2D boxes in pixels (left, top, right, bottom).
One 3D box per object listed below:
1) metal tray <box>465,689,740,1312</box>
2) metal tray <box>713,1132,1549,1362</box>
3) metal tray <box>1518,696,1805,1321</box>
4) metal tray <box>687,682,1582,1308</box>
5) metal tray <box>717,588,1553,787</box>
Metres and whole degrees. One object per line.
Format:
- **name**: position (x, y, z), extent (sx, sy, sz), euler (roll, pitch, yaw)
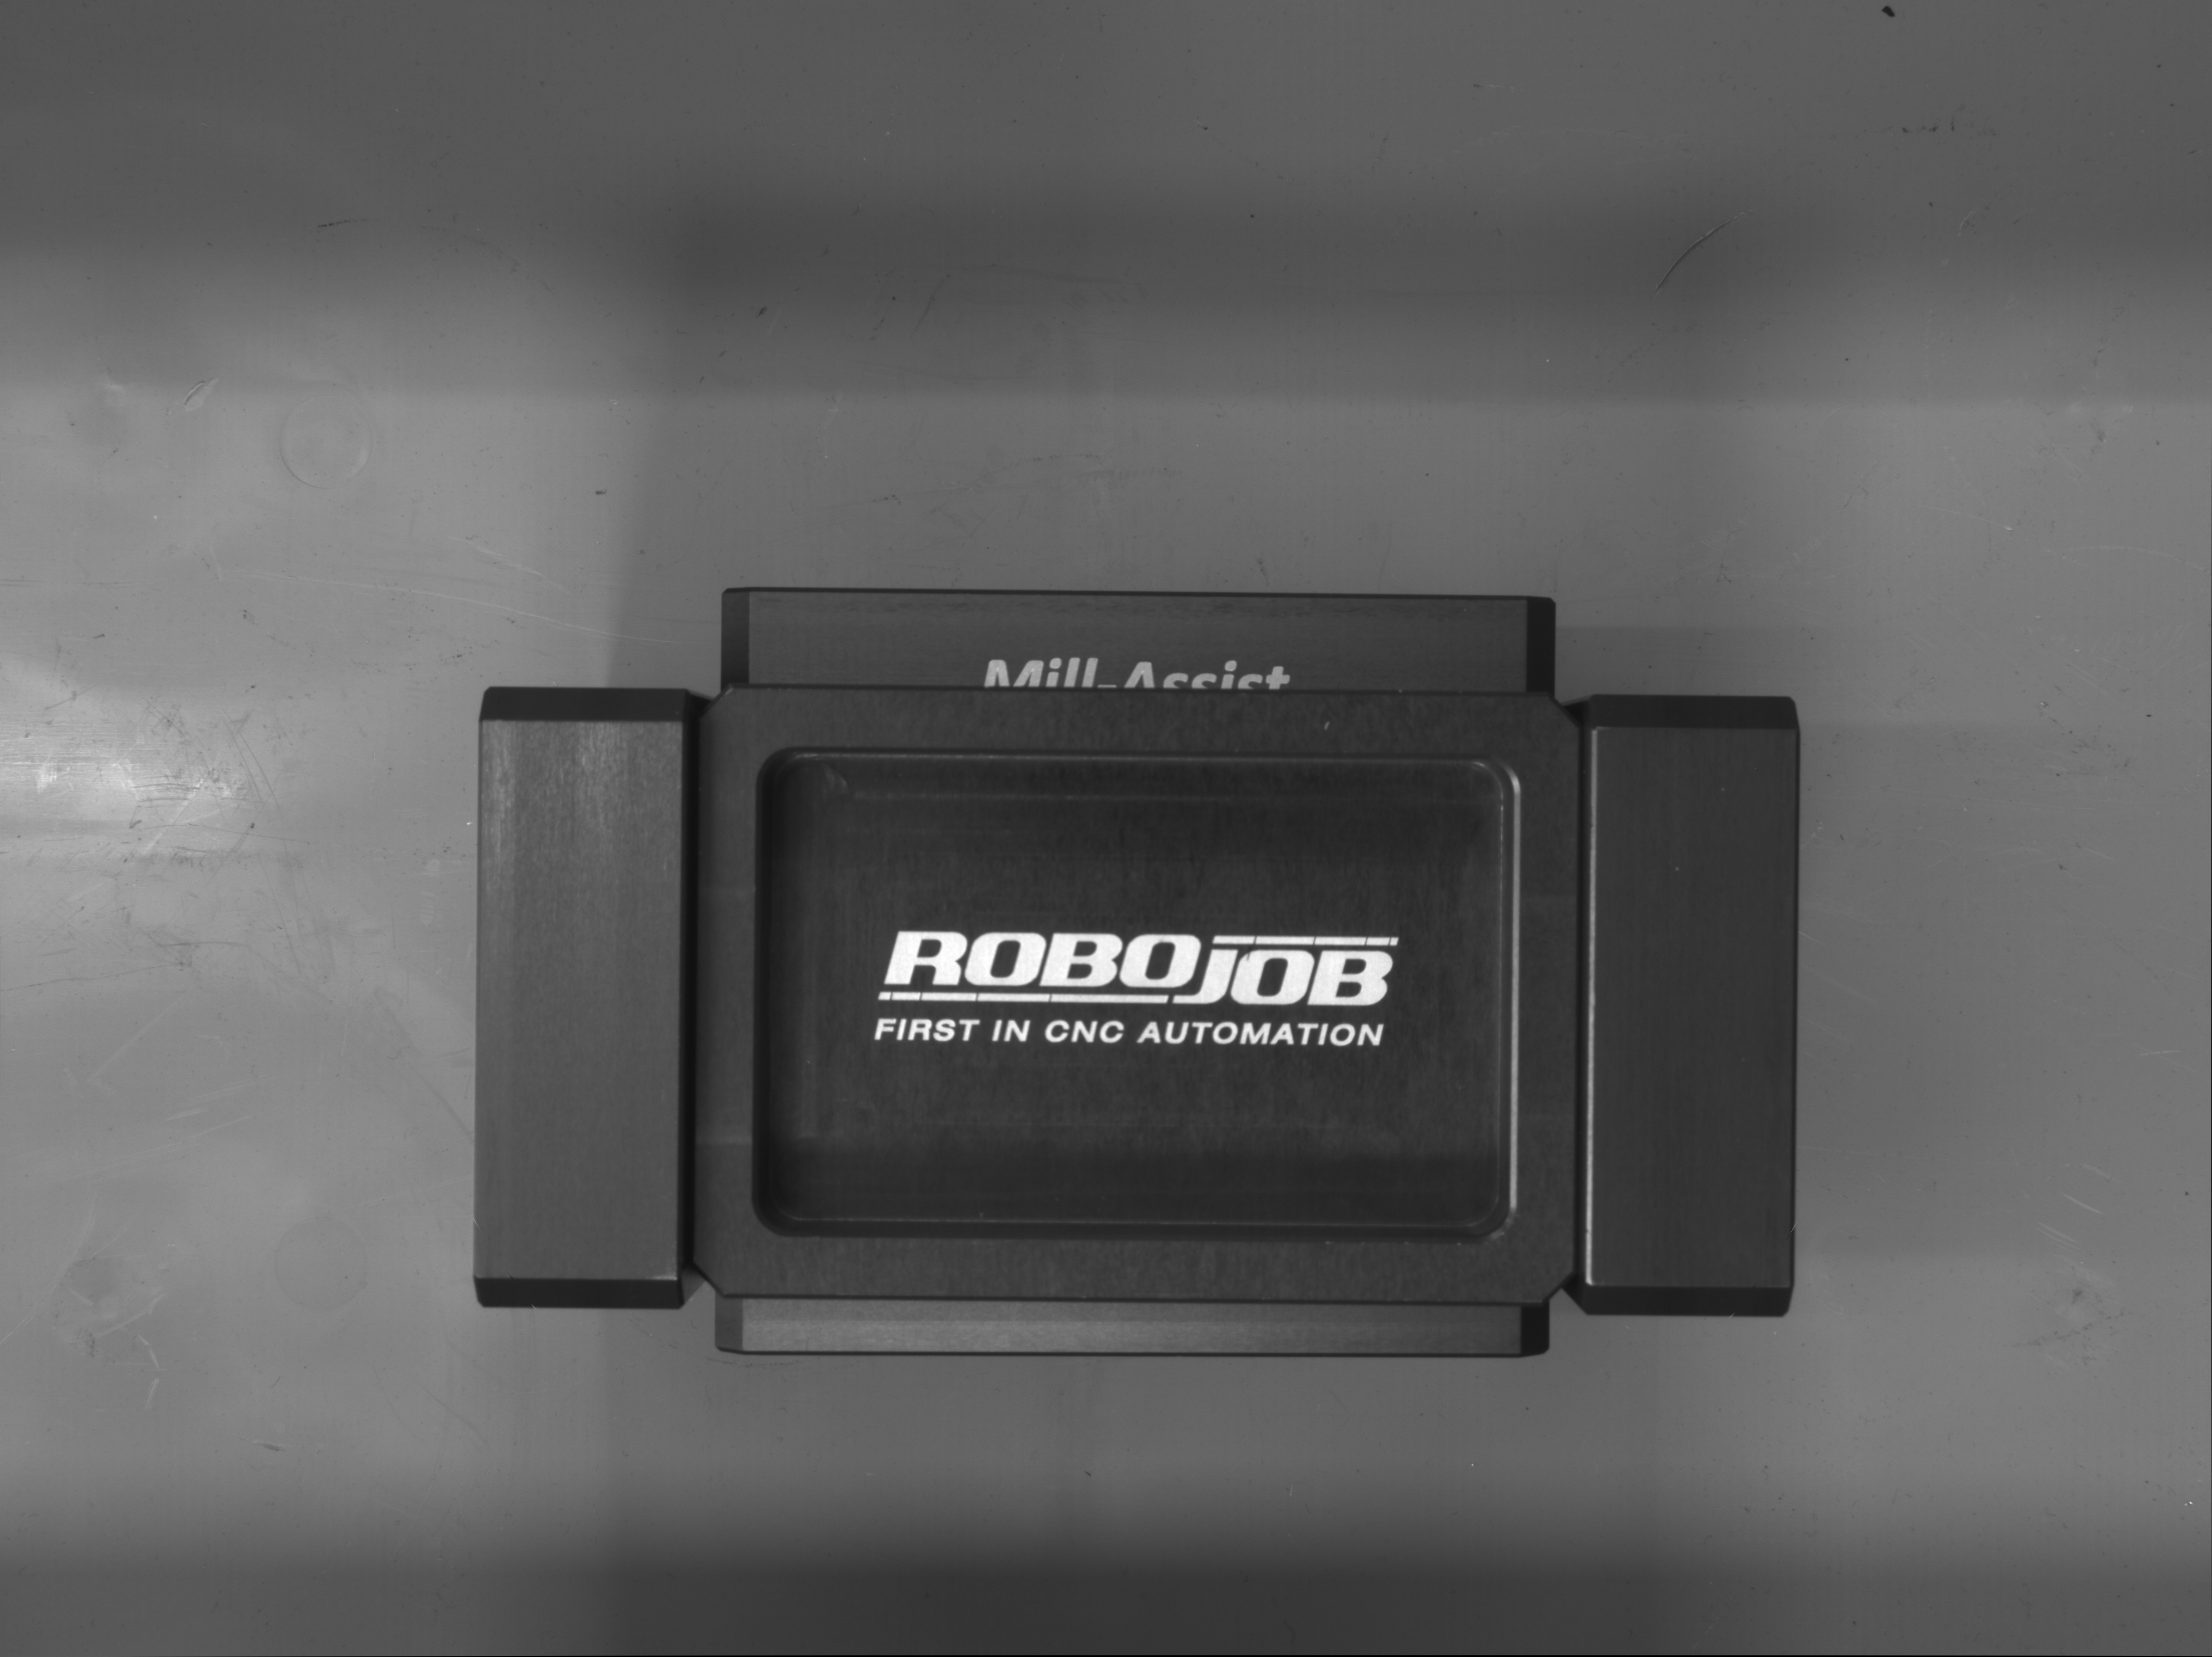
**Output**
- **metal tray**: position (-0.076, 0.025, 0.591), extent (0.030, 0.130, 0.090), euler (1, 90, 0)
- **metal tray**: position (0.004, 0.068, 0.610), extent (0.130, 0.090, 0.030), euler (0, 89, 0)
- **metal tray**: position (0.085, 0.026, 0.591), extent (0.030, 0.130, 0.090), euler (1, 90, 0)
- **metal tray**: position (0.004, 0.024, 0.551), extent (0.130, 0.030, 0.090), euler (1, 89, 0)
- **metal tray**: position (0.005, -0.022, 0.610), extent (0.130, 0.090, 0.030), euler (0, 91, 0)
